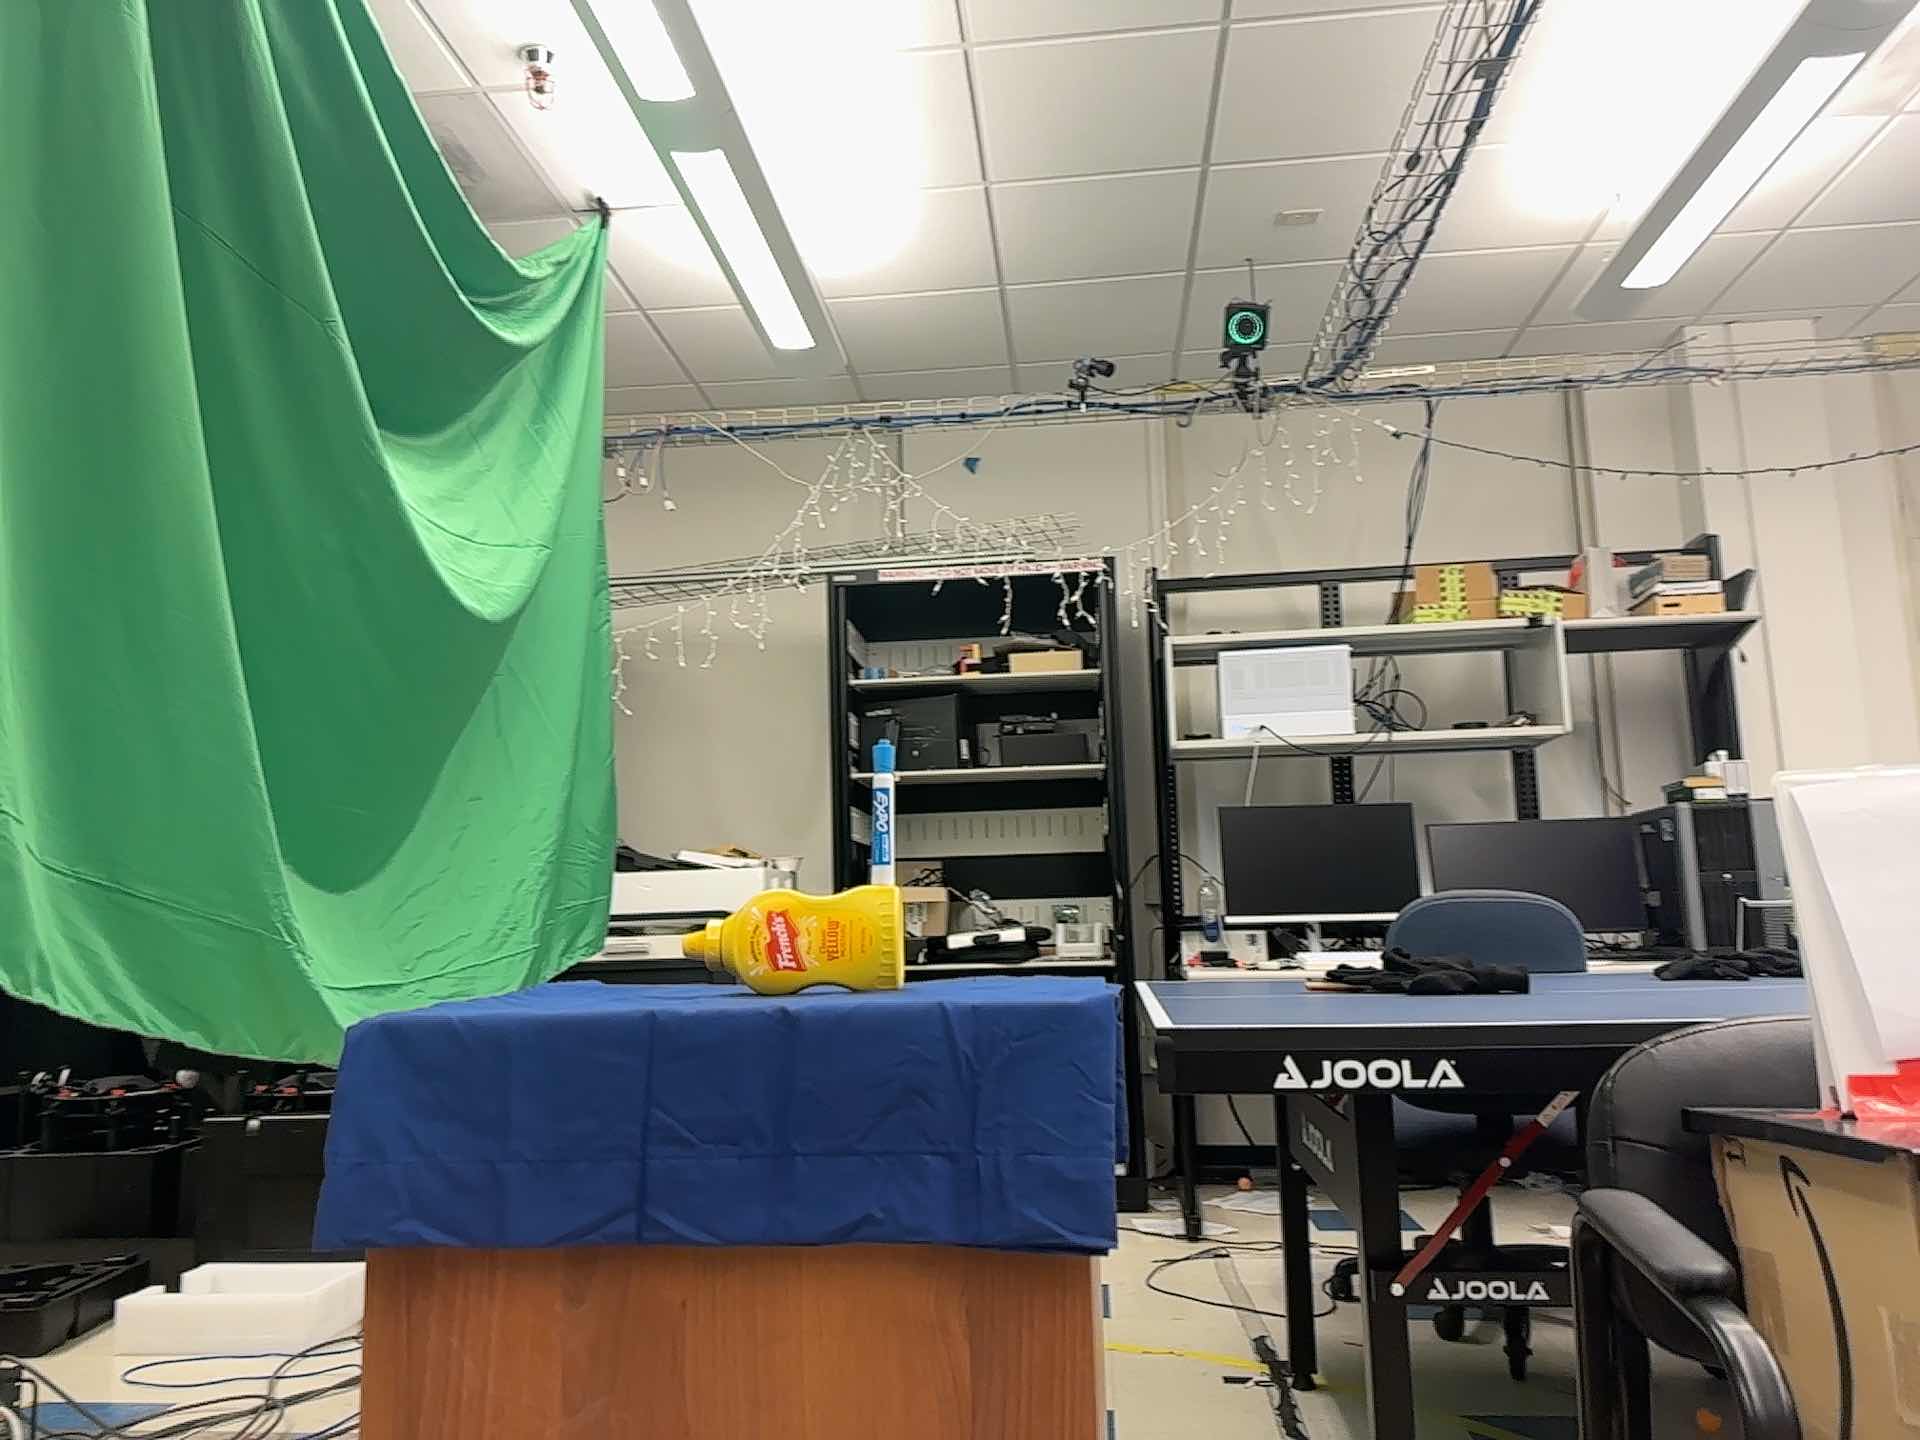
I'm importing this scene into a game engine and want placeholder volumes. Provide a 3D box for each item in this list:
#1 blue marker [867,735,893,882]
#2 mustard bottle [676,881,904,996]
[{"bbox_3d":[-0.067,0.073,1.115,0.020,0.121,0.020,-1,-10,0],"label":"blue marker"},{"bbox_3d":[-0.139,0.179,1.099,0.184,0.092,0.054,-1,-1,-1],"label":"mustard bottle"}]
